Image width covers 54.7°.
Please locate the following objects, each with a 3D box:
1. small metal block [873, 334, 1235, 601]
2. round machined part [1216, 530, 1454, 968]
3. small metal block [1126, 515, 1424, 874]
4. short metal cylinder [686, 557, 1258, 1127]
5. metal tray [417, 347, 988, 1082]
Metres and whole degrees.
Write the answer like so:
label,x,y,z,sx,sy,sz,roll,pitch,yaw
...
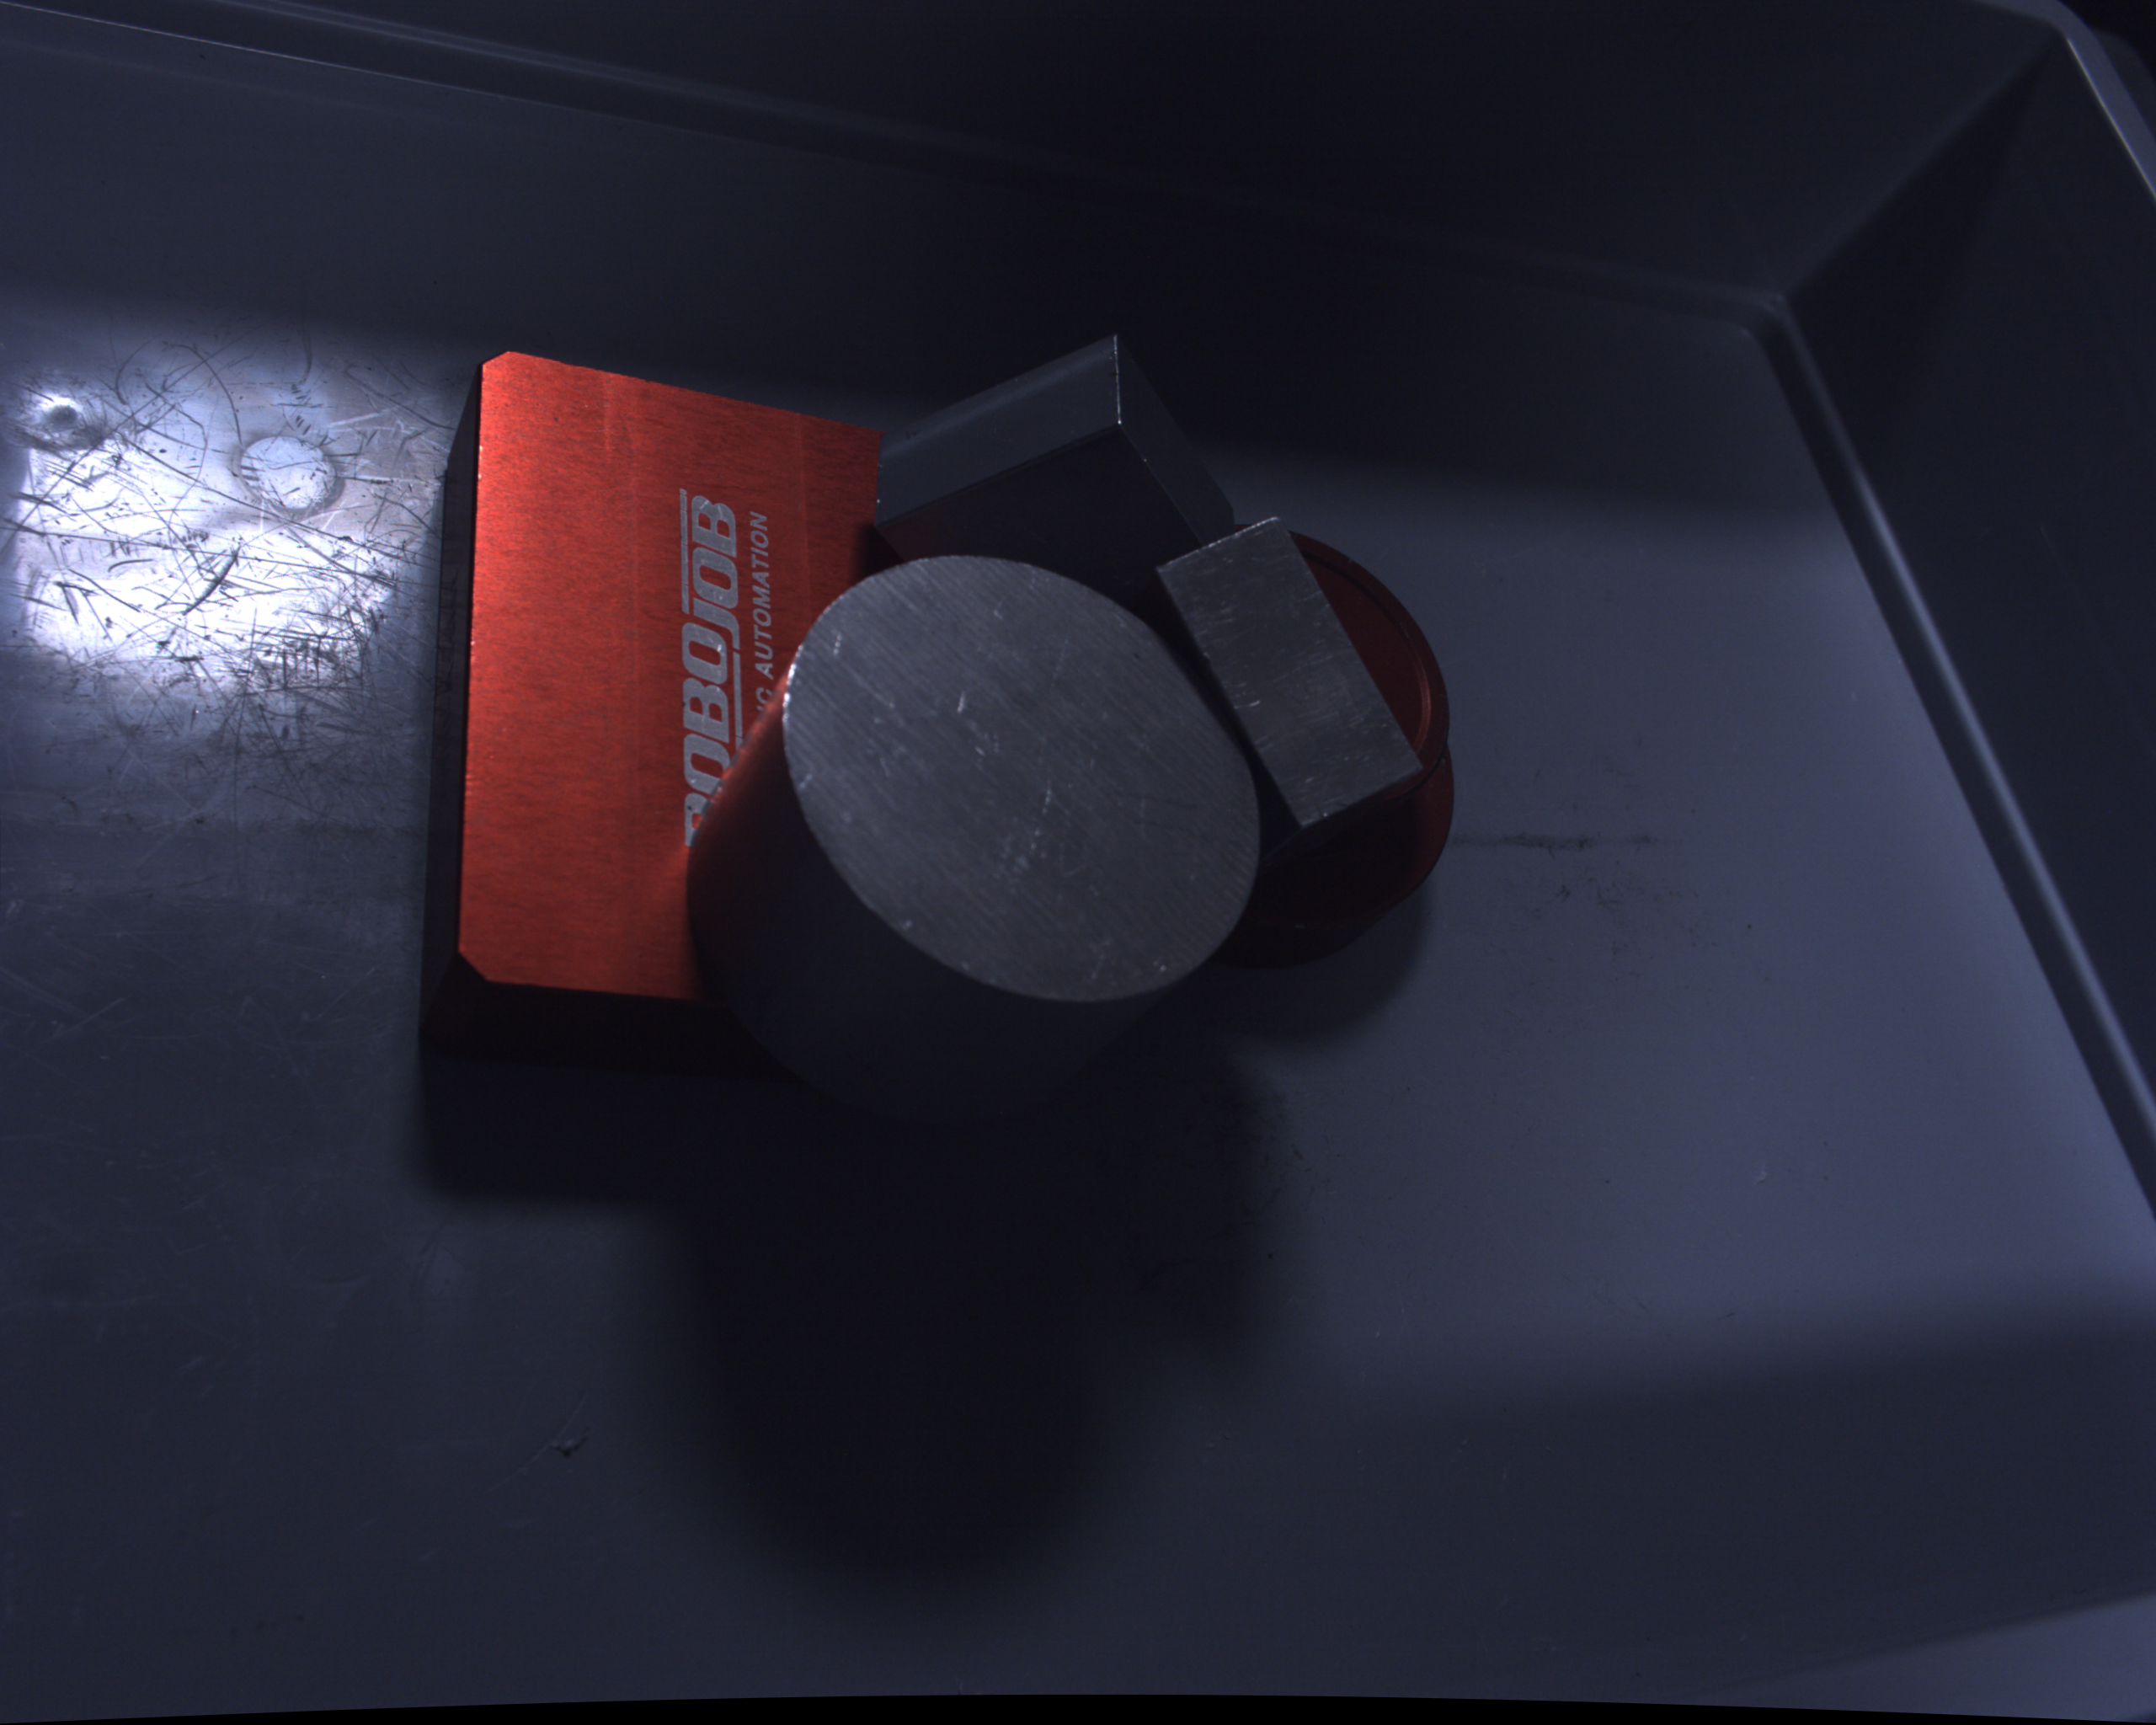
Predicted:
label,x,y,z,sx,sy,sz,roll,pitch,yaw
small metal block,-0.003,-0.065,0.394,0.050,0.050,0.025,47,32,-46
round machined part,0.037,-0.031,0.432,0.099,0.042,0.098,14,56,-21
small metal block,0.030,-0.026,0.371,0.025,0.050,0.050,-27,83,-18
short metal cylinder,-0.018,-0.003,0.342,0.081,0.050,0.080,14,56,-21
metal tray,-0.068,-0.027,0.378,0.091,0.030,0.130,8,58,-25
